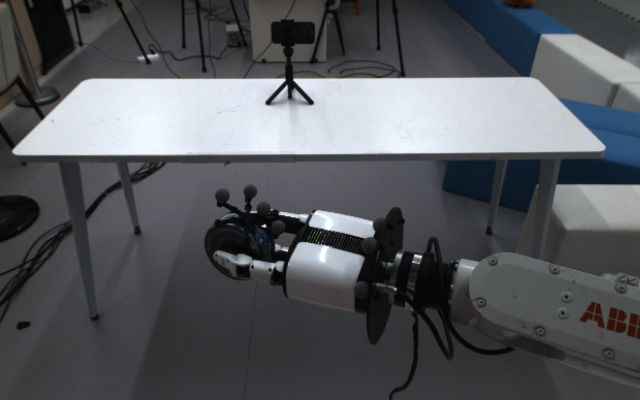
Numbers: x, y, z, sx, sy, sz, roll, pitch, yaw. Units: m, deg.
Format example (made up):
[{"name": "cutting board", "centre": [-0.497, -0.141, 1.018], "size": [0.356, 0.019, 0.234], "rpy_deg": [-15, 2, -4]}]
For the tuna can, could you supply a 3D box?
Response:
[{"name": "tuna can", "centre": [-0.100, 0.059, 0.613], "size": [0.085, 0.085, 0.034], "rpy_deg": [15, 31, 18]}]
